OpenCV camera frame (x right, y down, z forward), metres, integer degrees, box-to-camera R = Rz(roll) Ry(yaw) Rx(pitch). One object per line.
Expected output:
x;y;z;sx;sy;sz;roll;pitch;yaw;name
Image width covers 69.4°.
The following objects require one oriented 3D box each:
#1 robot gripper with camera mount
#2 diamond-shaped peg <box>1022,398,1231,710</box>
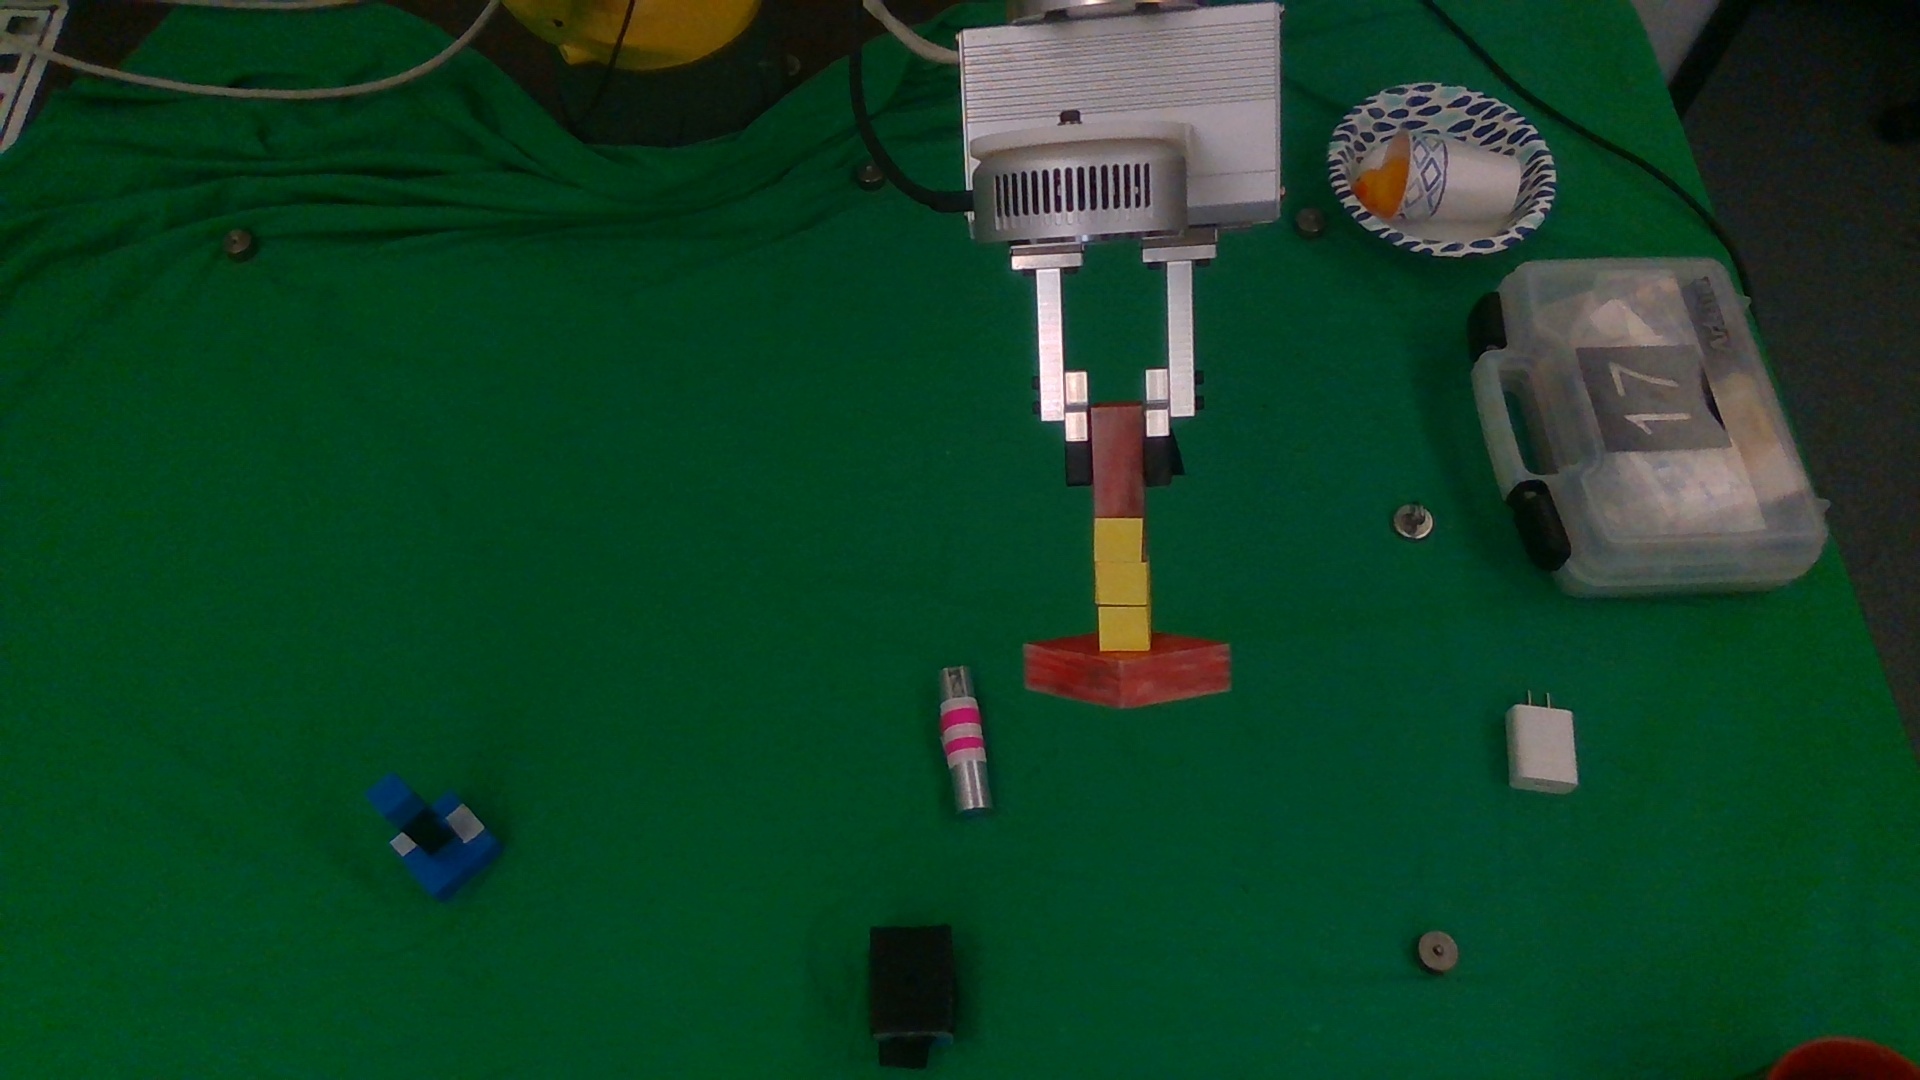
0.052;-0.083;0.460;0.119;0.193;0.158;0;104;7;robot gripper with camera mount
0.065;0.005;0.557;0.074;0.045;0.122;-4;100;-14;diamond-shaped peg
